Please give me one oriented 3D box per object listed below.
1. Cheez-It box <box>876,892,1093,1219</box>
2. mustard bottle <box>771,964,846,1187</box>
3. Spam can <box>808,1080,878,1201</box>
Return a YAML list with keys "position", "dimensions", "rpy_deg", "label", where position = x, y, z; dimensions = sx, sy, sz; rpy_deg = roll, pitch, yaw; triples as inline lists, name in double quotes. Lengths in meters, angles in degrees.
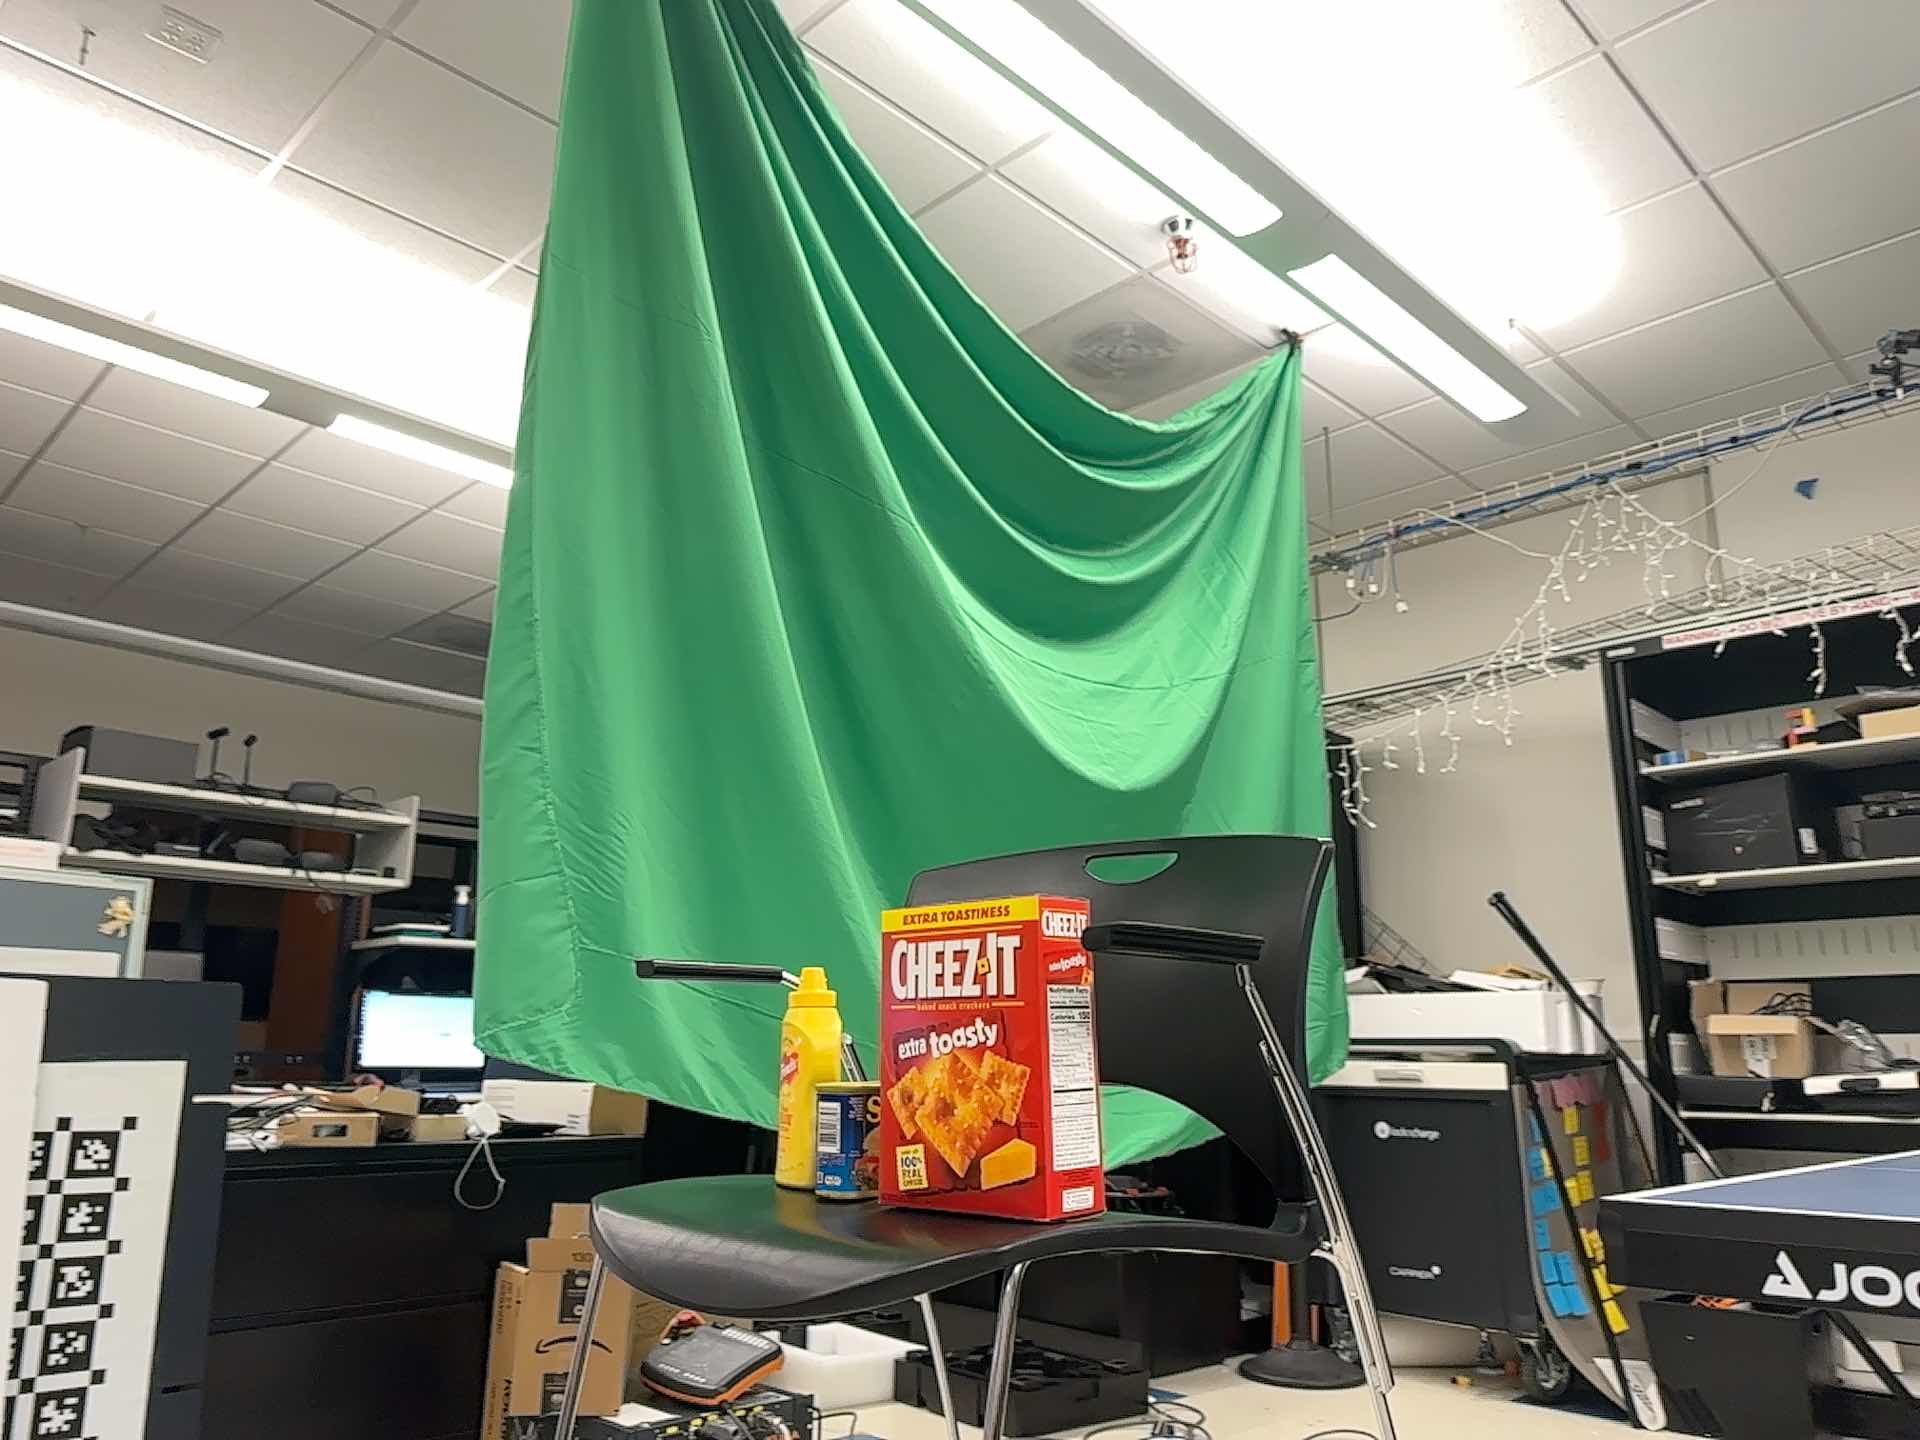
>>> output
- position: [0.015, 0.246, 1.005]
  dimensions: [0.062, 0.214, 0.159]
  rpy_deg: [12, -18, -42]
  label: "Cheez-It box"
- position: [-0.132, 0.308, 1.184]
  dimensions: [0.054, 0.184, 0.092]
  rpy_deg: [5, -11, -28]
  label: "mustard bottle"
- position: [-0.074, 0.342, 1.108]
  dimensions: [0.100, 0.083, 0.056]
  rpy_deg: [9, -13, -42]
  label: "Spam can"
